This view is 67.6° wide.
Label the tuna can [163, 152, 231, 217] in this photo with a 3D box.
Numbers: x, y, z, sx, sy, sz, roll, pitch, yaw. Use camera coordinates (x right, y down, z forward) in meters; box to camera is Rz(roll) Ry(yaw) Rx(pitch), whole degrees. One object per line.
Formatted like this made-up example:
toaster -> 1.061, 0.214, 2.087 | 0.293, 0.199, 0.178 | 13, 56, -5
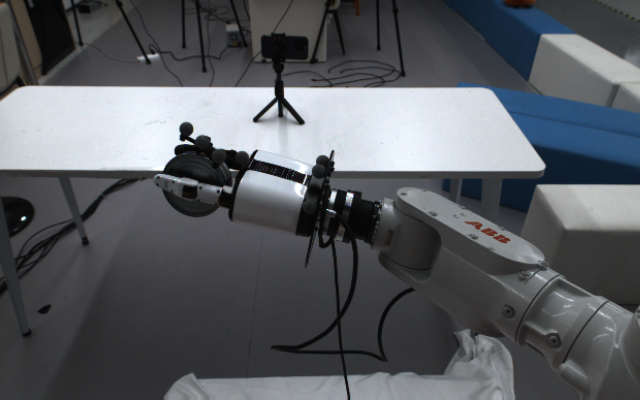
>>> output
tuna can -> -0.159, -0.023, 0.633 | 0.085, 0.085, 0.034 | 7, 16, 7
